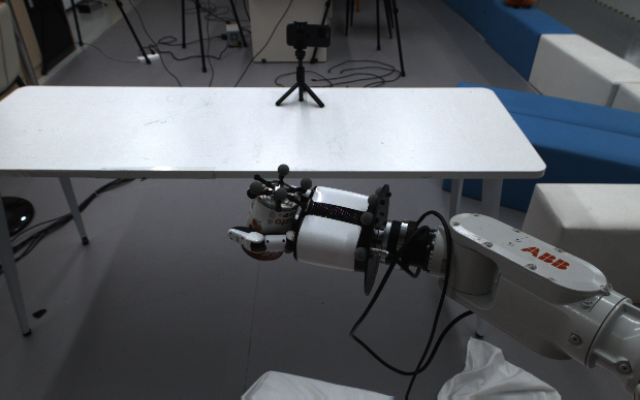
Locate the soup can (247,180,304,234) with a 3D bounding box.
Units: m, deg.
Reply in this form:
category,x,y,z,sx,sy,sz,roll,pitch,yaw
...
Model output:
category,x,y,z,sx,sy,sz,roll,pitch,yaw
soup can,-0.072,0.031,0.707,0.067,0.101,0.067,14,35,-10
